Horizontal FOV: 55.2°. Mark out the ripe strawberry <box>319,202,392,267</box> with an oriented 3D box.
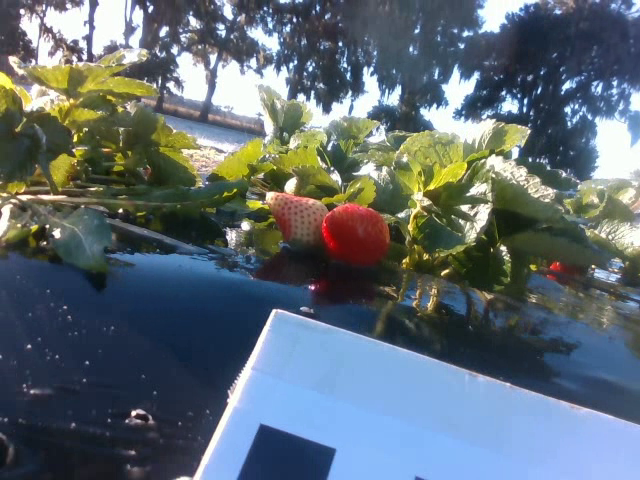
[{"bbox_3d":[0.016,-0.010,0.307,0.040,0.038,0.056,-14,-41,13],"label":"ripe strawberry"}]
